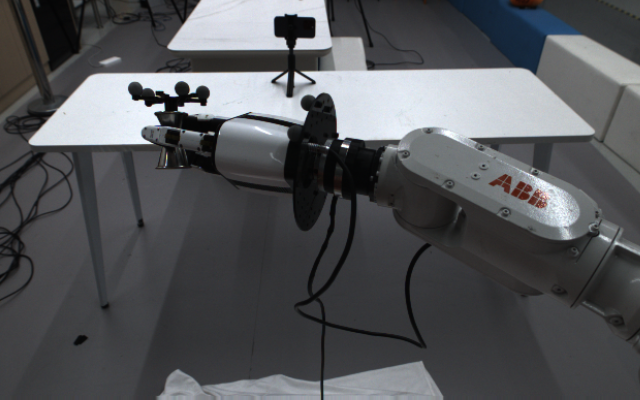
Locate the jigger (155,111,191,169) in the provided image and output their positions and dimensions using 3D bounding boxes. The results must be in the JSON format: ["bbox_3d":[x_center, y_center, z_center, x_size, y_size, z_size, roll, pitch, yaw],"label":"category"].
[{"bbox_3d":[-0.182,-0.072,0.598,0.043,0.071,0.043,-2,4,0],"label":"jigger"}]
